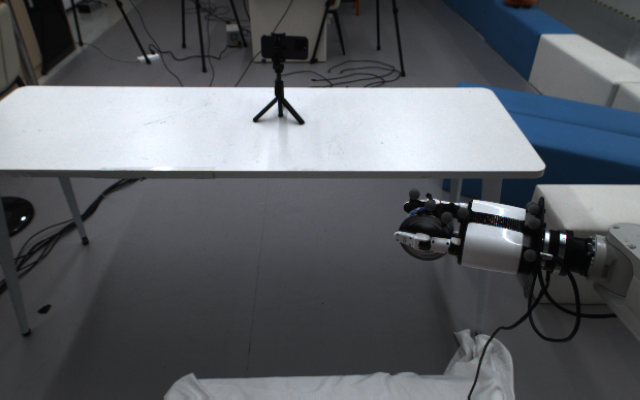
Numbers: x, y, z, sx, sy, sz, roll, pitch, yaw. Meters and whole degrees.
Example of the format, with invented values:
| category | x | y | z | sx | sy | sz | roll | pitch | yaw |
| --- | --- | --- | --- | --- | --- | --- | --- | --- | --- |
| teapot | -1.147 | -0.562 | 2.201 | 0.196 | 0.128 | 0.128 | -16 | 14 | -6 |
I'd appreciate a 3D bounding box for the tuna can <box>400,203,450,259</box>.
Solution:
| category | x | y | z | sx | sy | sz | roll | pitch | yaw |
| --- | --- | --- | --- | --- | --- | --- | --- | --- | --- |
| tuna can | 0.177 | 0.052 | 0.791 | 0.085 | 0.085 | 0.034 | 16 | 28 | 19 |
